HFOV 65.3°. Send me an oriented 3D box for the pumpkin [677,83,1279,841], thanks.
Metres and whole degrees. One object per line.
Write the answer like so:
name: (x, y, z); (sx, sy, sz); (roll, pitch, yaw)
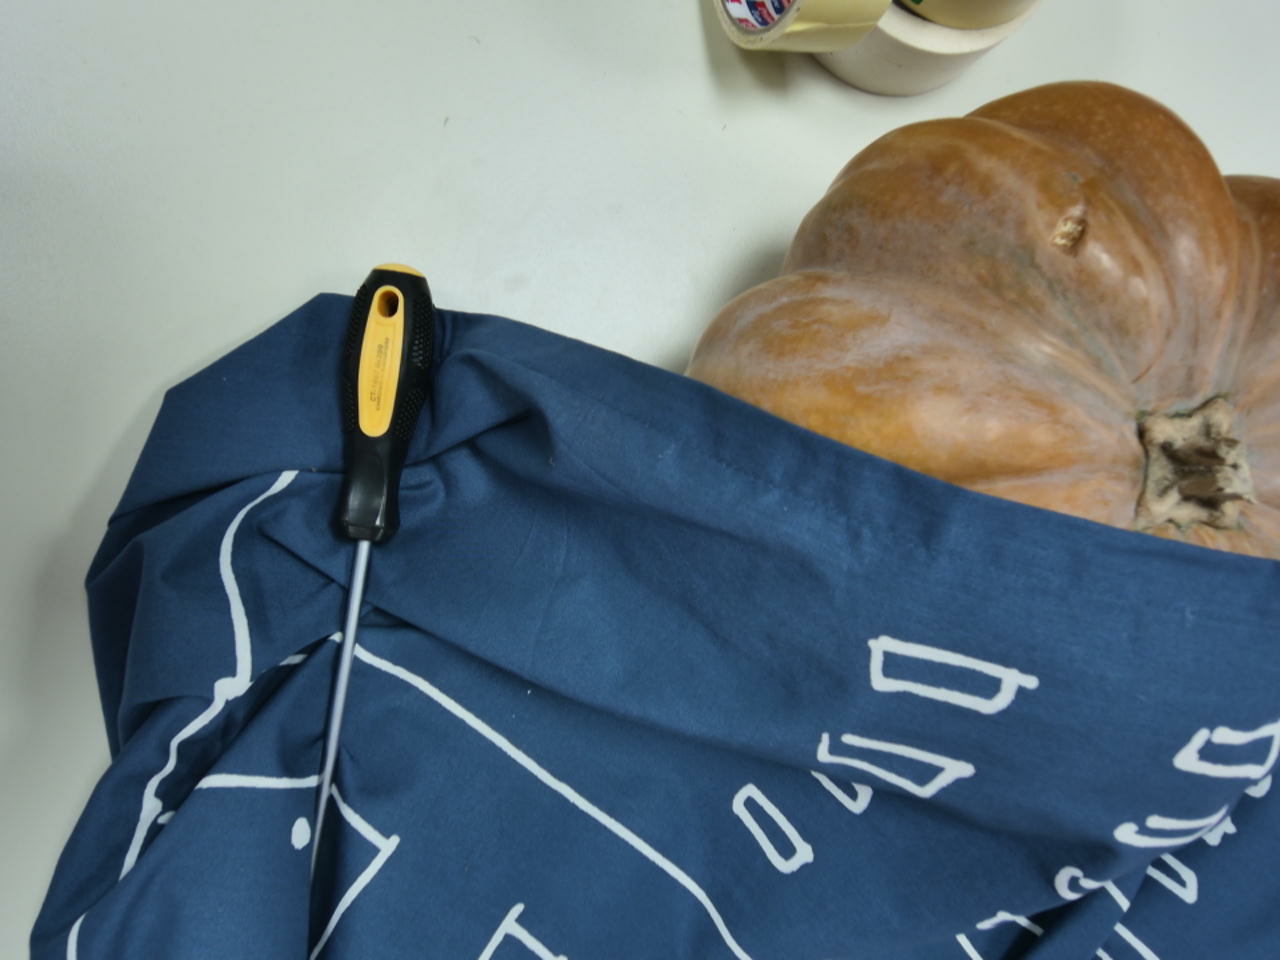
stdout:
pumpkin: (0.149, -0.007, 0.375); (0.277, 0.181, 0.277); (0, 91, -12)
